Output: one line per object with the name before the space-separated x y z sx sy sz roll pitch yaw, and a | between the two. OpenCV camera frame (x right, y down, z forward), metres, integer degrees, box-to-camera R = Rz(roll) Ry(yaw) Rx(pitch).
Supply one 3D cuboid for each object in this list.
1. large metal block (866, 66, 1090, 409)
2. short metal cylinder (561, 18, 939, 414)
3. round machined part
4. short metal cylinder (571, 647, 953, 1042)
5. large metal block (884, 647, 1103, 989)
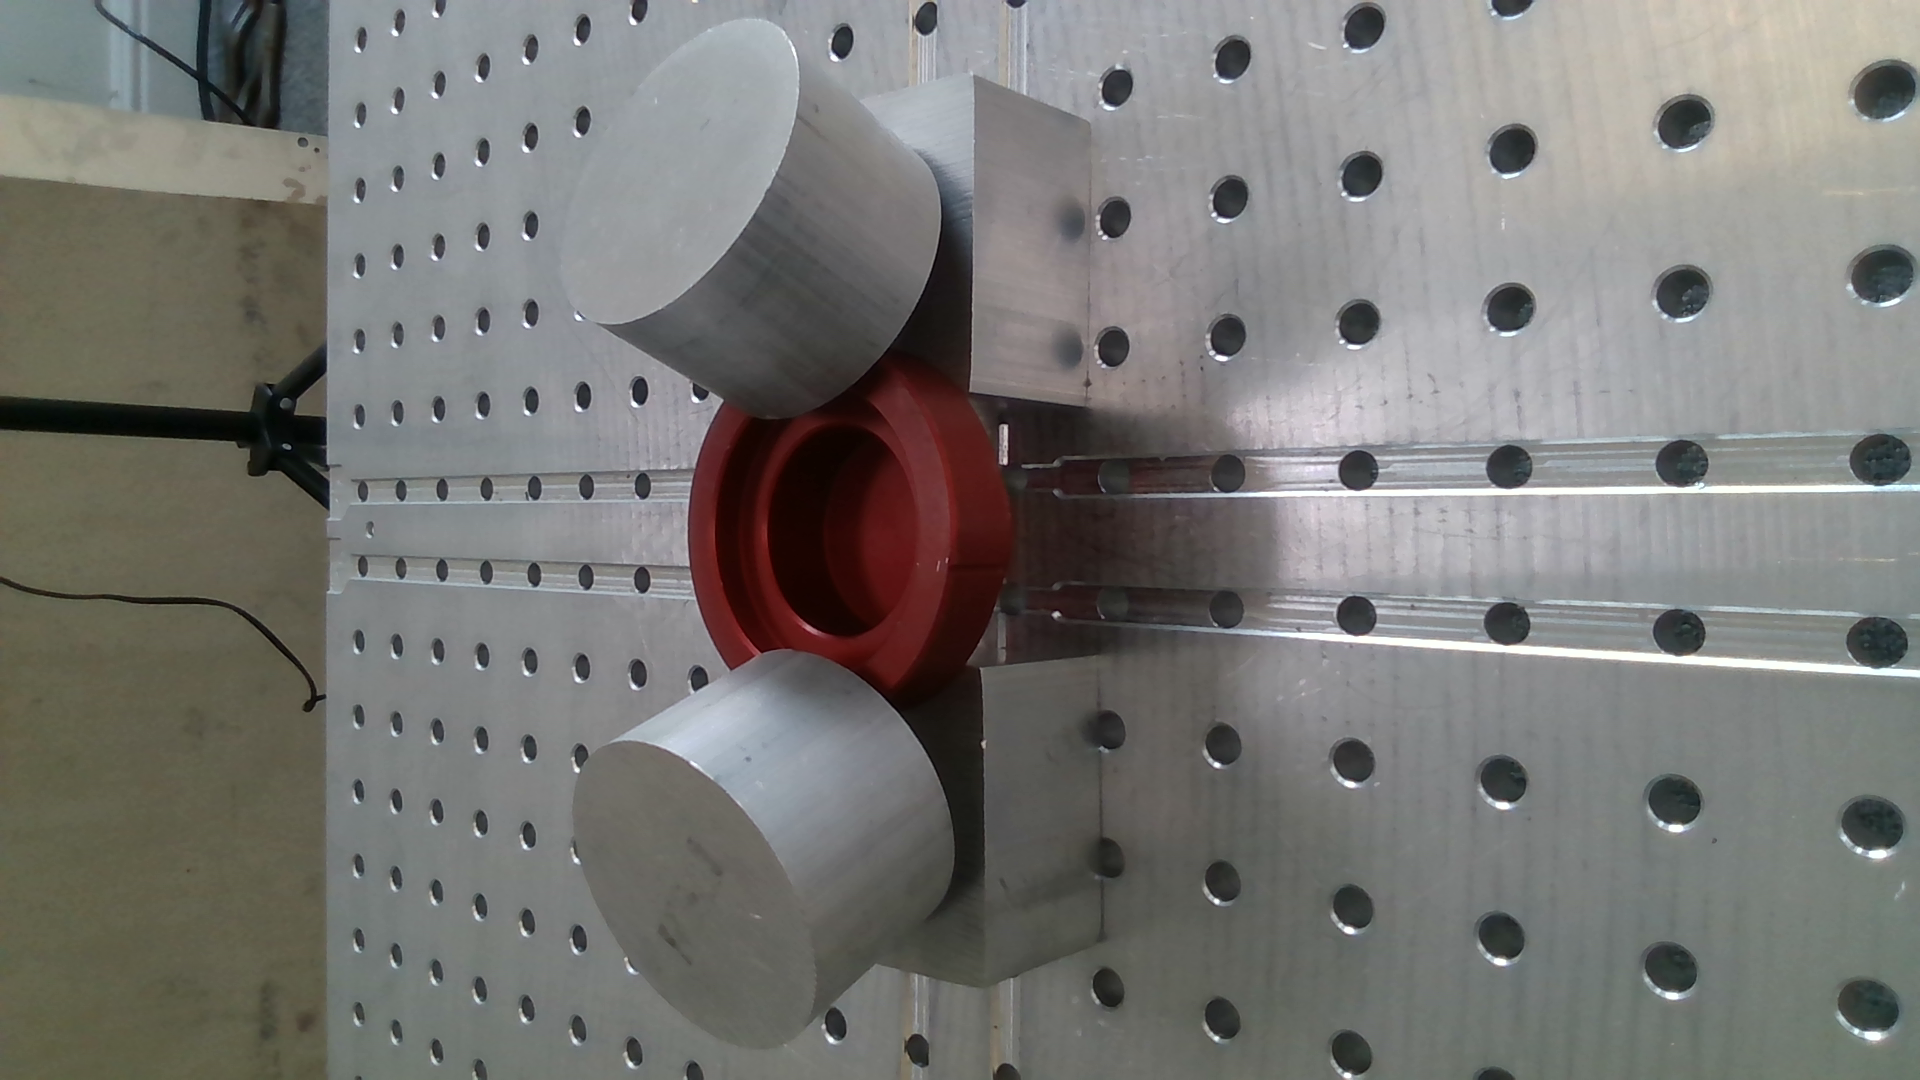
large metal block | -0.011 -0.078 0.386 0.080 0.050 0.080 1 91 40
short metal cylinder | -0.052 -0.078 0.338 0.080 0.050 0.080 -20 57 33
round machined part | -0.026 -0.003 0.366 0.098 0.042 0.098 0 91 40
short metal cylinder | -0.049 0.073 0.337 0.080 0.050 0.080 18 121 33
large metal block | -0.008 0.071 0.385 0.080 0.050 0.080 -1 90 40
